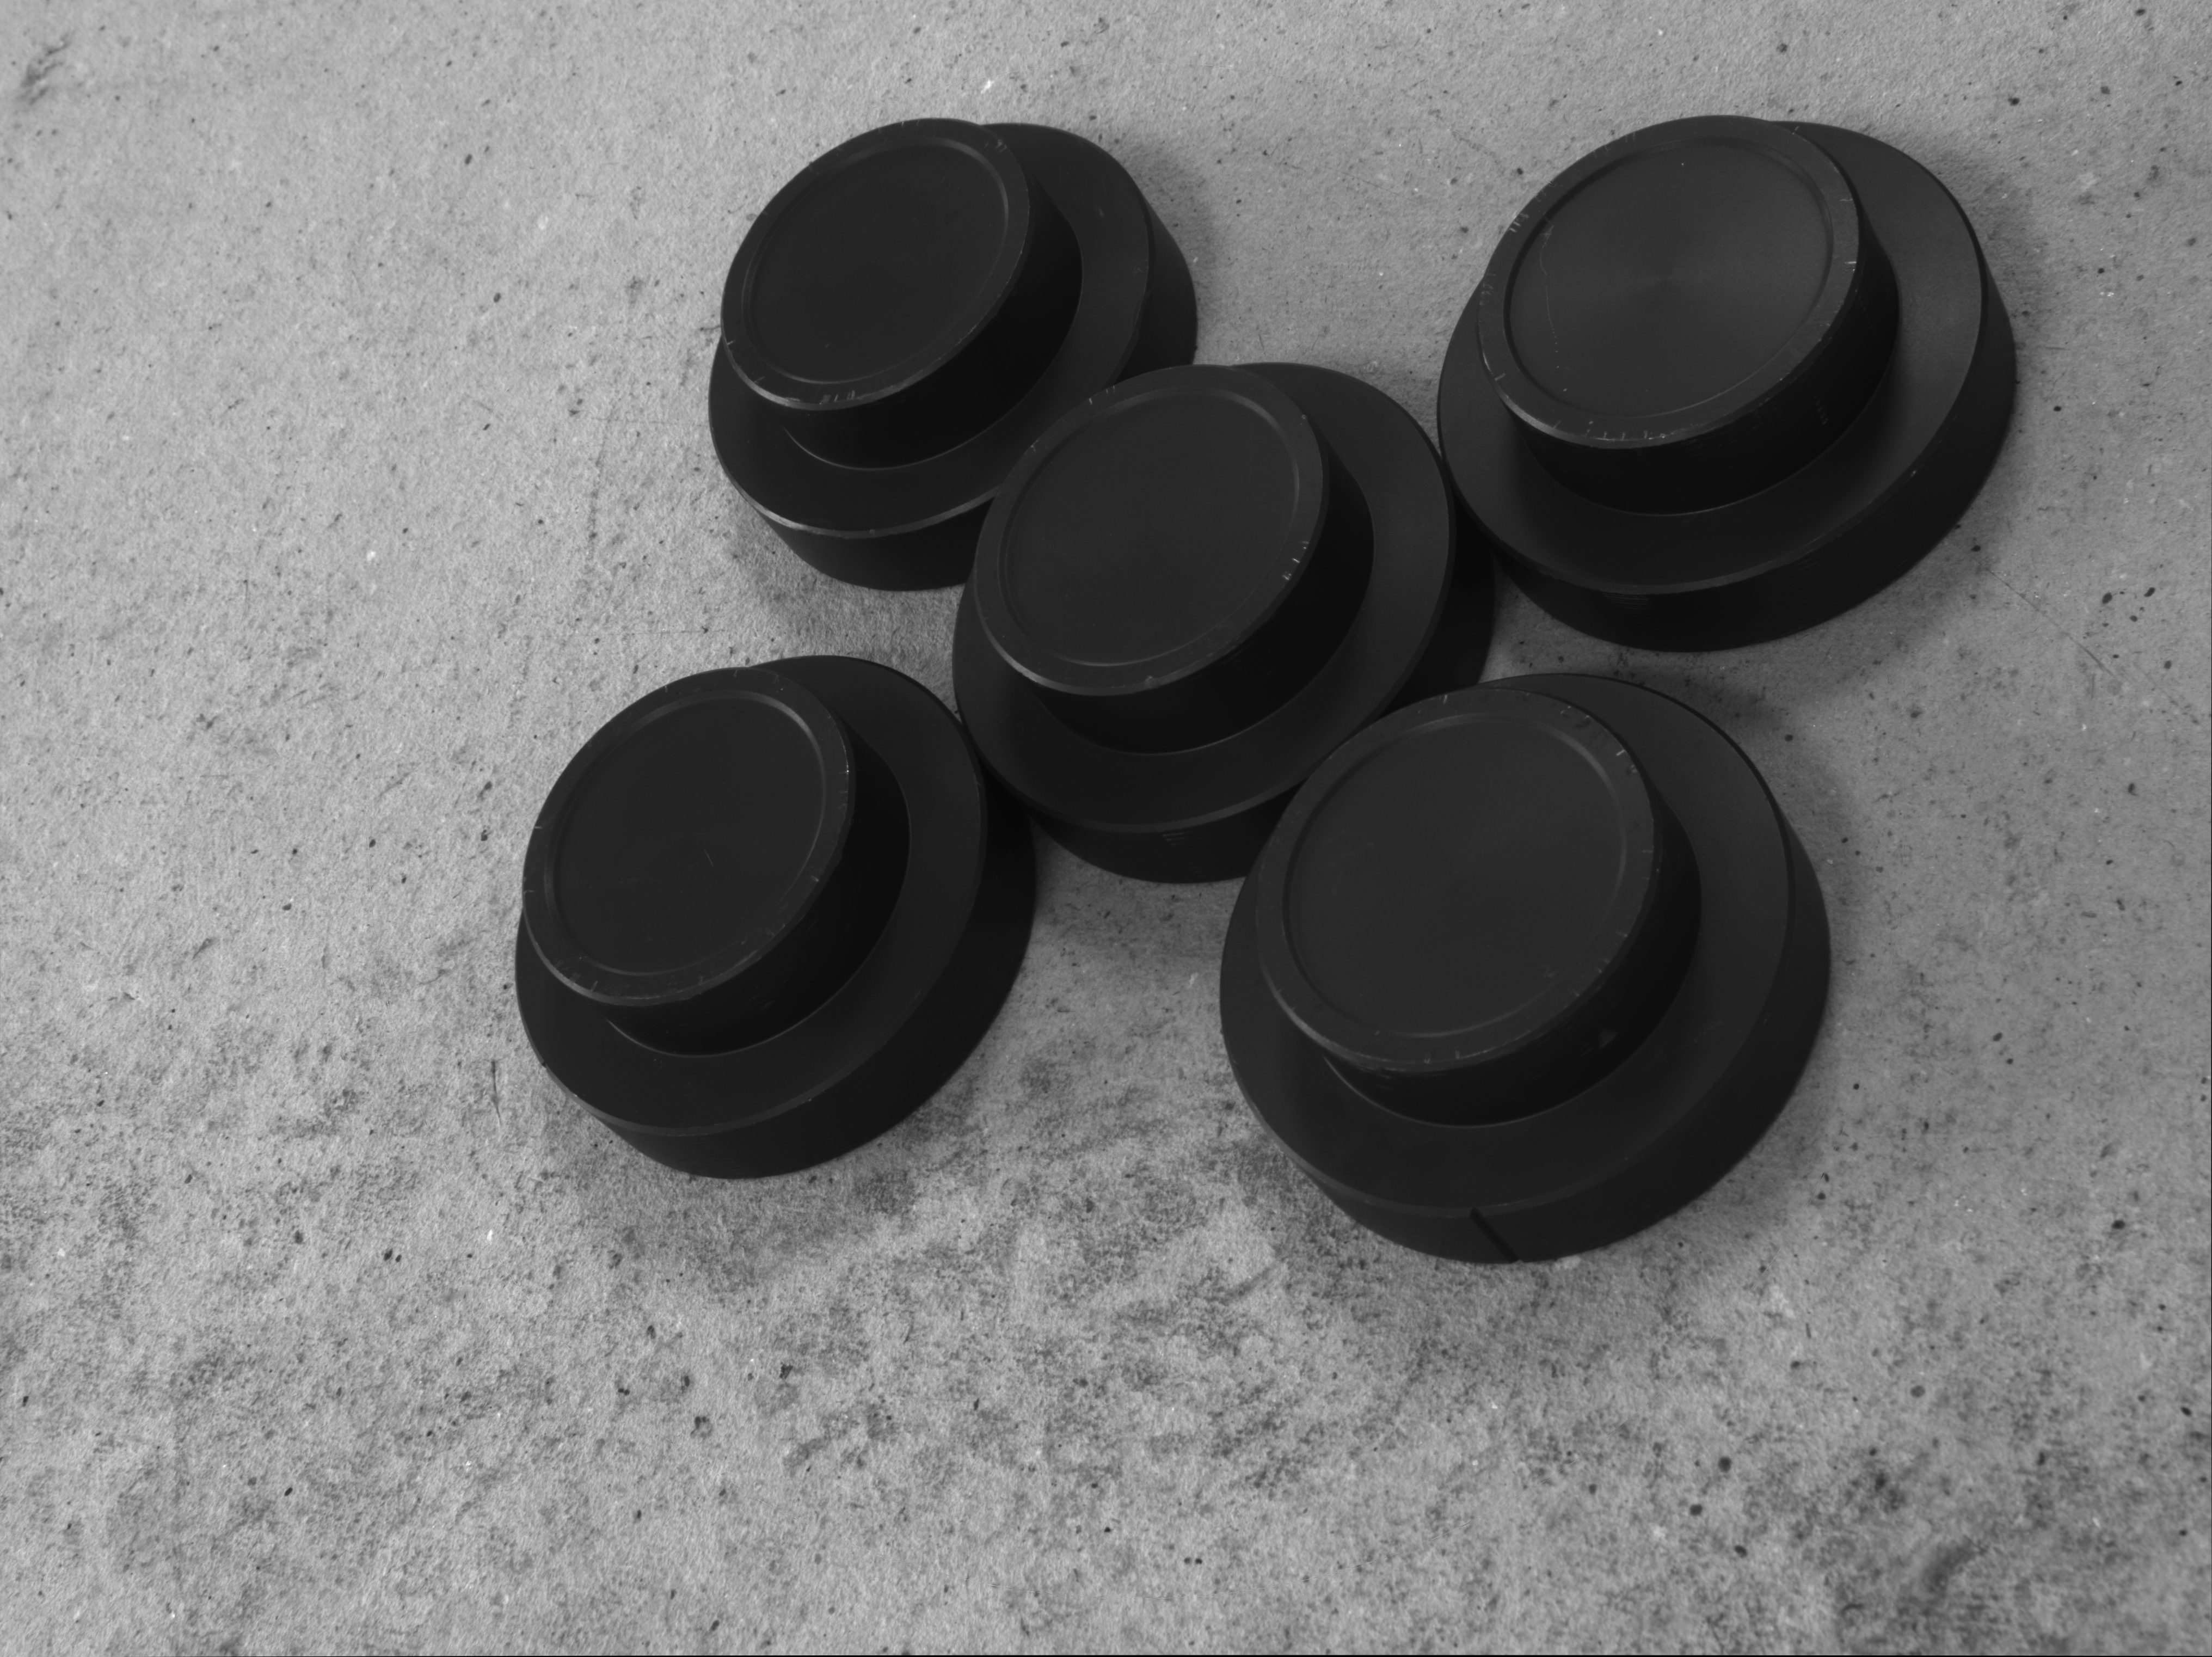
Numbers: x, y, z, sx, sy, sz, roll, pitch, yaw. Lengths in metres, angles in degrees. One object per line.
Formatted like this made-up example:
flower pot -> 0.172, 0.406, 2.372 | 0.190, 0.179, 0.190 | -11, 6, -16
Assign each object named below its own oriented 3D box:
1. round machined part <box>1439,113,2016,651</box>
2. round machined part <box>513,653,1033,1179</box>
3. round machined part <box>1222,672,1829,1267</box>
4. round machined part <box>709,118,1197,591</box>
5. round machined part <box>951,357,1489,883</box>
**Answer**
round machined part -> 0.102, -0.083, 0.629 | 0.098, 0.042, 0.098 | -14, 57, 22
round machined part -> -0.066, 0.010, 0.663 | 0.098, 0.042, 0.098 | -13, 57, 21
round machined part -> 0.063, 0.017, 0.589 | 0.098, 0.042, 0.098 | -14, 57, 22
round machined part -> -0.035, -0.098, 0.714 | 0.098, 0.042, 0.098 | -13, 56, 21
round machined part -> 0.015, -0.043, 0.652 | 0.098, 0.042, 0.098 | -14, 57, 22
